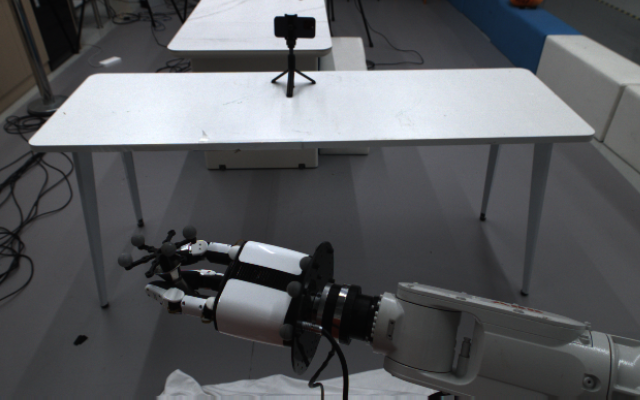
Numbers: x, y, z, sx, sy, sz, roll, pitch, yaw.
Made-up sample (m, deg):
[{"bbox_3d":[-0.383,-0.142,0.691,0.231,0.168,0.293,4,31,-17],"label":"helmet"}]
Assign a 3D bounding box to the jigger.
[{"bbox_3d":[-0.184,0.107,0.625,0.043,0.071,0.043,-10,33,6],"label":"jigger"}]
